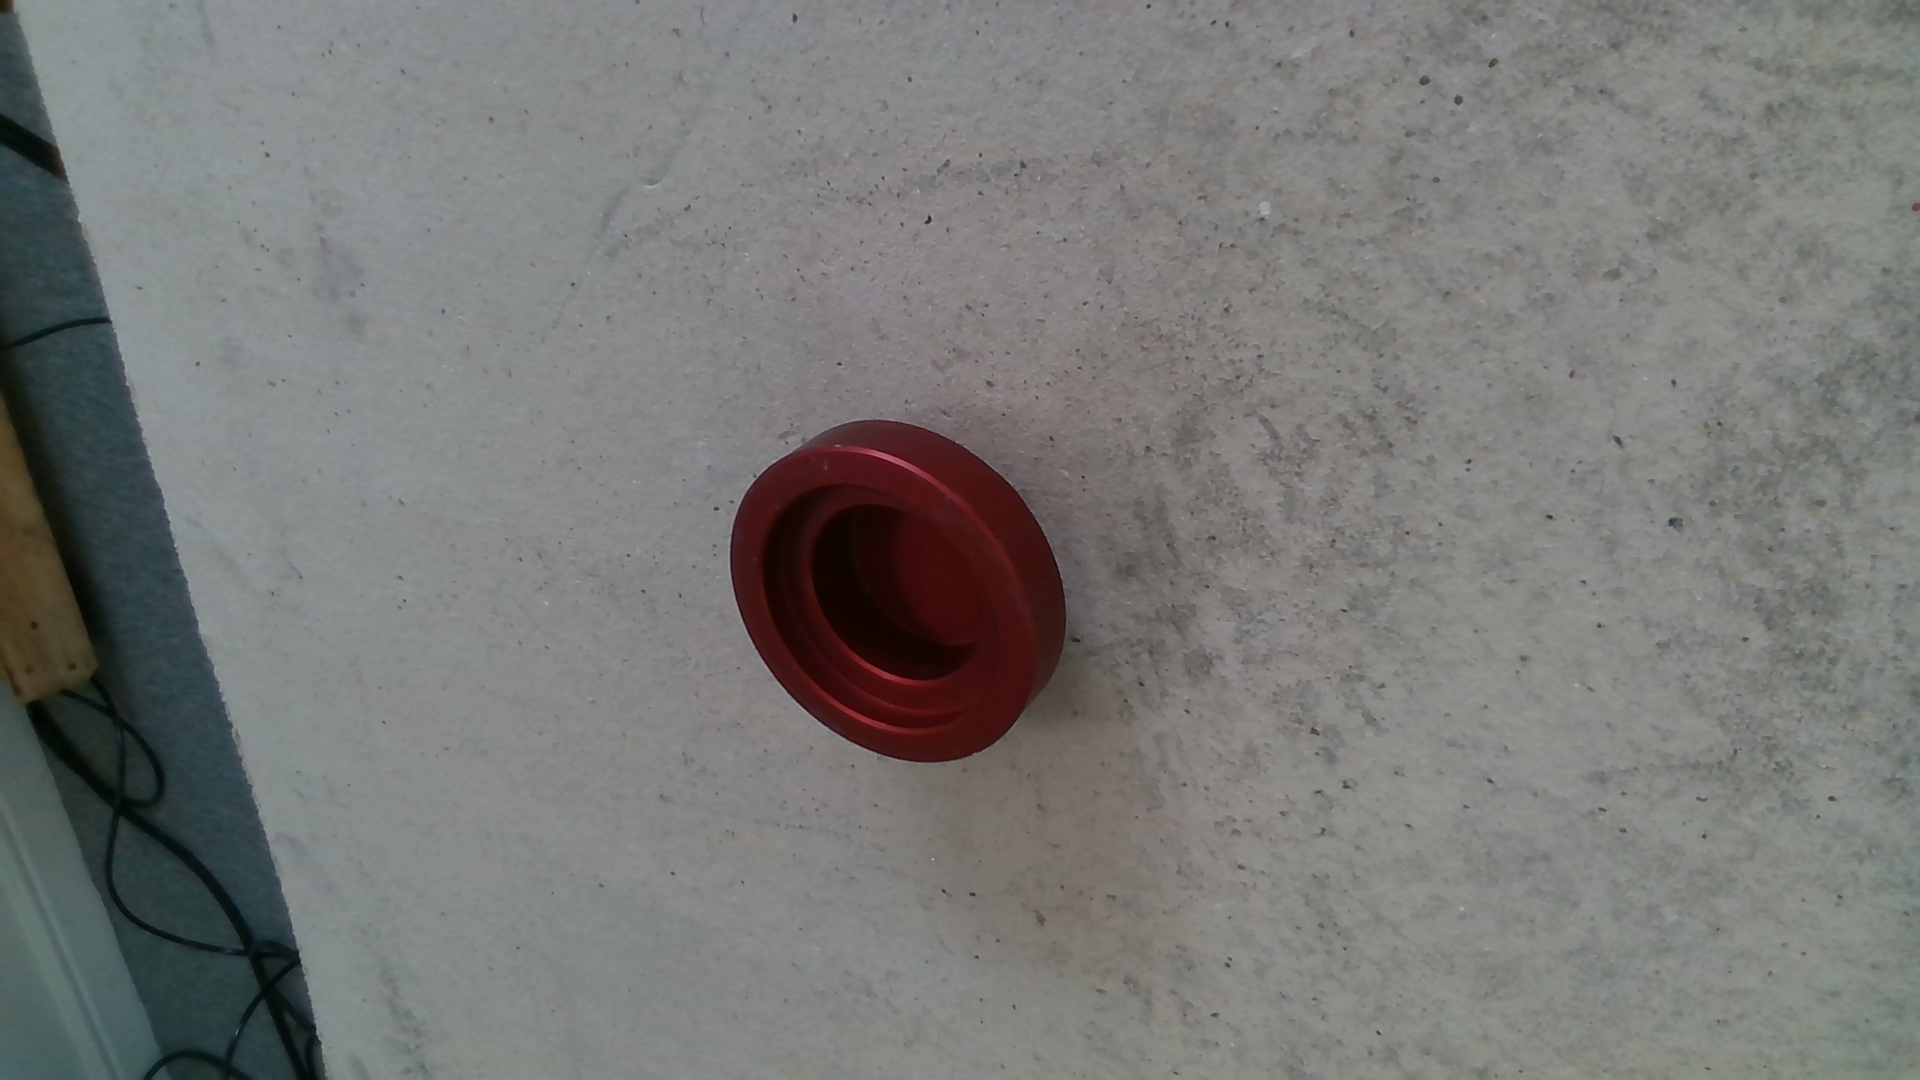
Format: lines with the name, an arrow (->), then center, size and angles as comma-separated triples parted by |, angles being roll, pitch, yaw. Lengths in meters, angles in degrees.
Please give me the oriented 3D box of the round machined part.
round machined part -> -0.014, 0.011, 0.393 | 0.098, 0.042, 0.098 | 14, 122, 25
